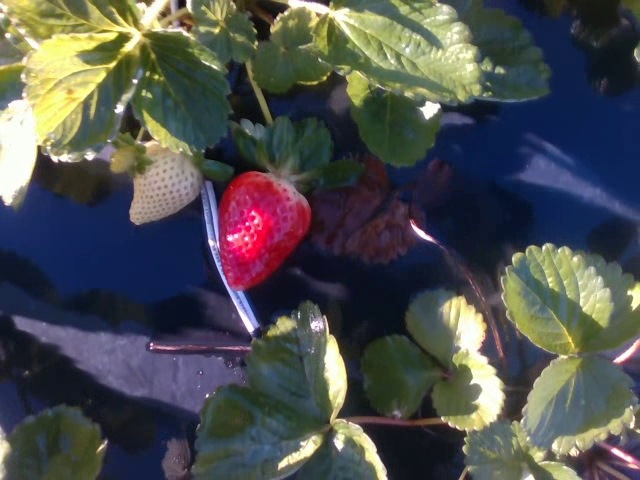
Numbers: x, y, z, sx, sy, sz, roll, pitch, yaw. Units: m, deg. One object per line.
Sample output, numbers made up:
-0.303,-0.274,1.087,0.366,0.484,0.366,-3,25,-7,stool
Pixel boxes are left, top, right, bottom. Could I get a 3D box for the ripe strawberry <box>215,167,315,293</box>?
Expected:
-0.028,-0.006,0.321,0.062,0.080,0.040,29,-14,-31,ripe strawberry
